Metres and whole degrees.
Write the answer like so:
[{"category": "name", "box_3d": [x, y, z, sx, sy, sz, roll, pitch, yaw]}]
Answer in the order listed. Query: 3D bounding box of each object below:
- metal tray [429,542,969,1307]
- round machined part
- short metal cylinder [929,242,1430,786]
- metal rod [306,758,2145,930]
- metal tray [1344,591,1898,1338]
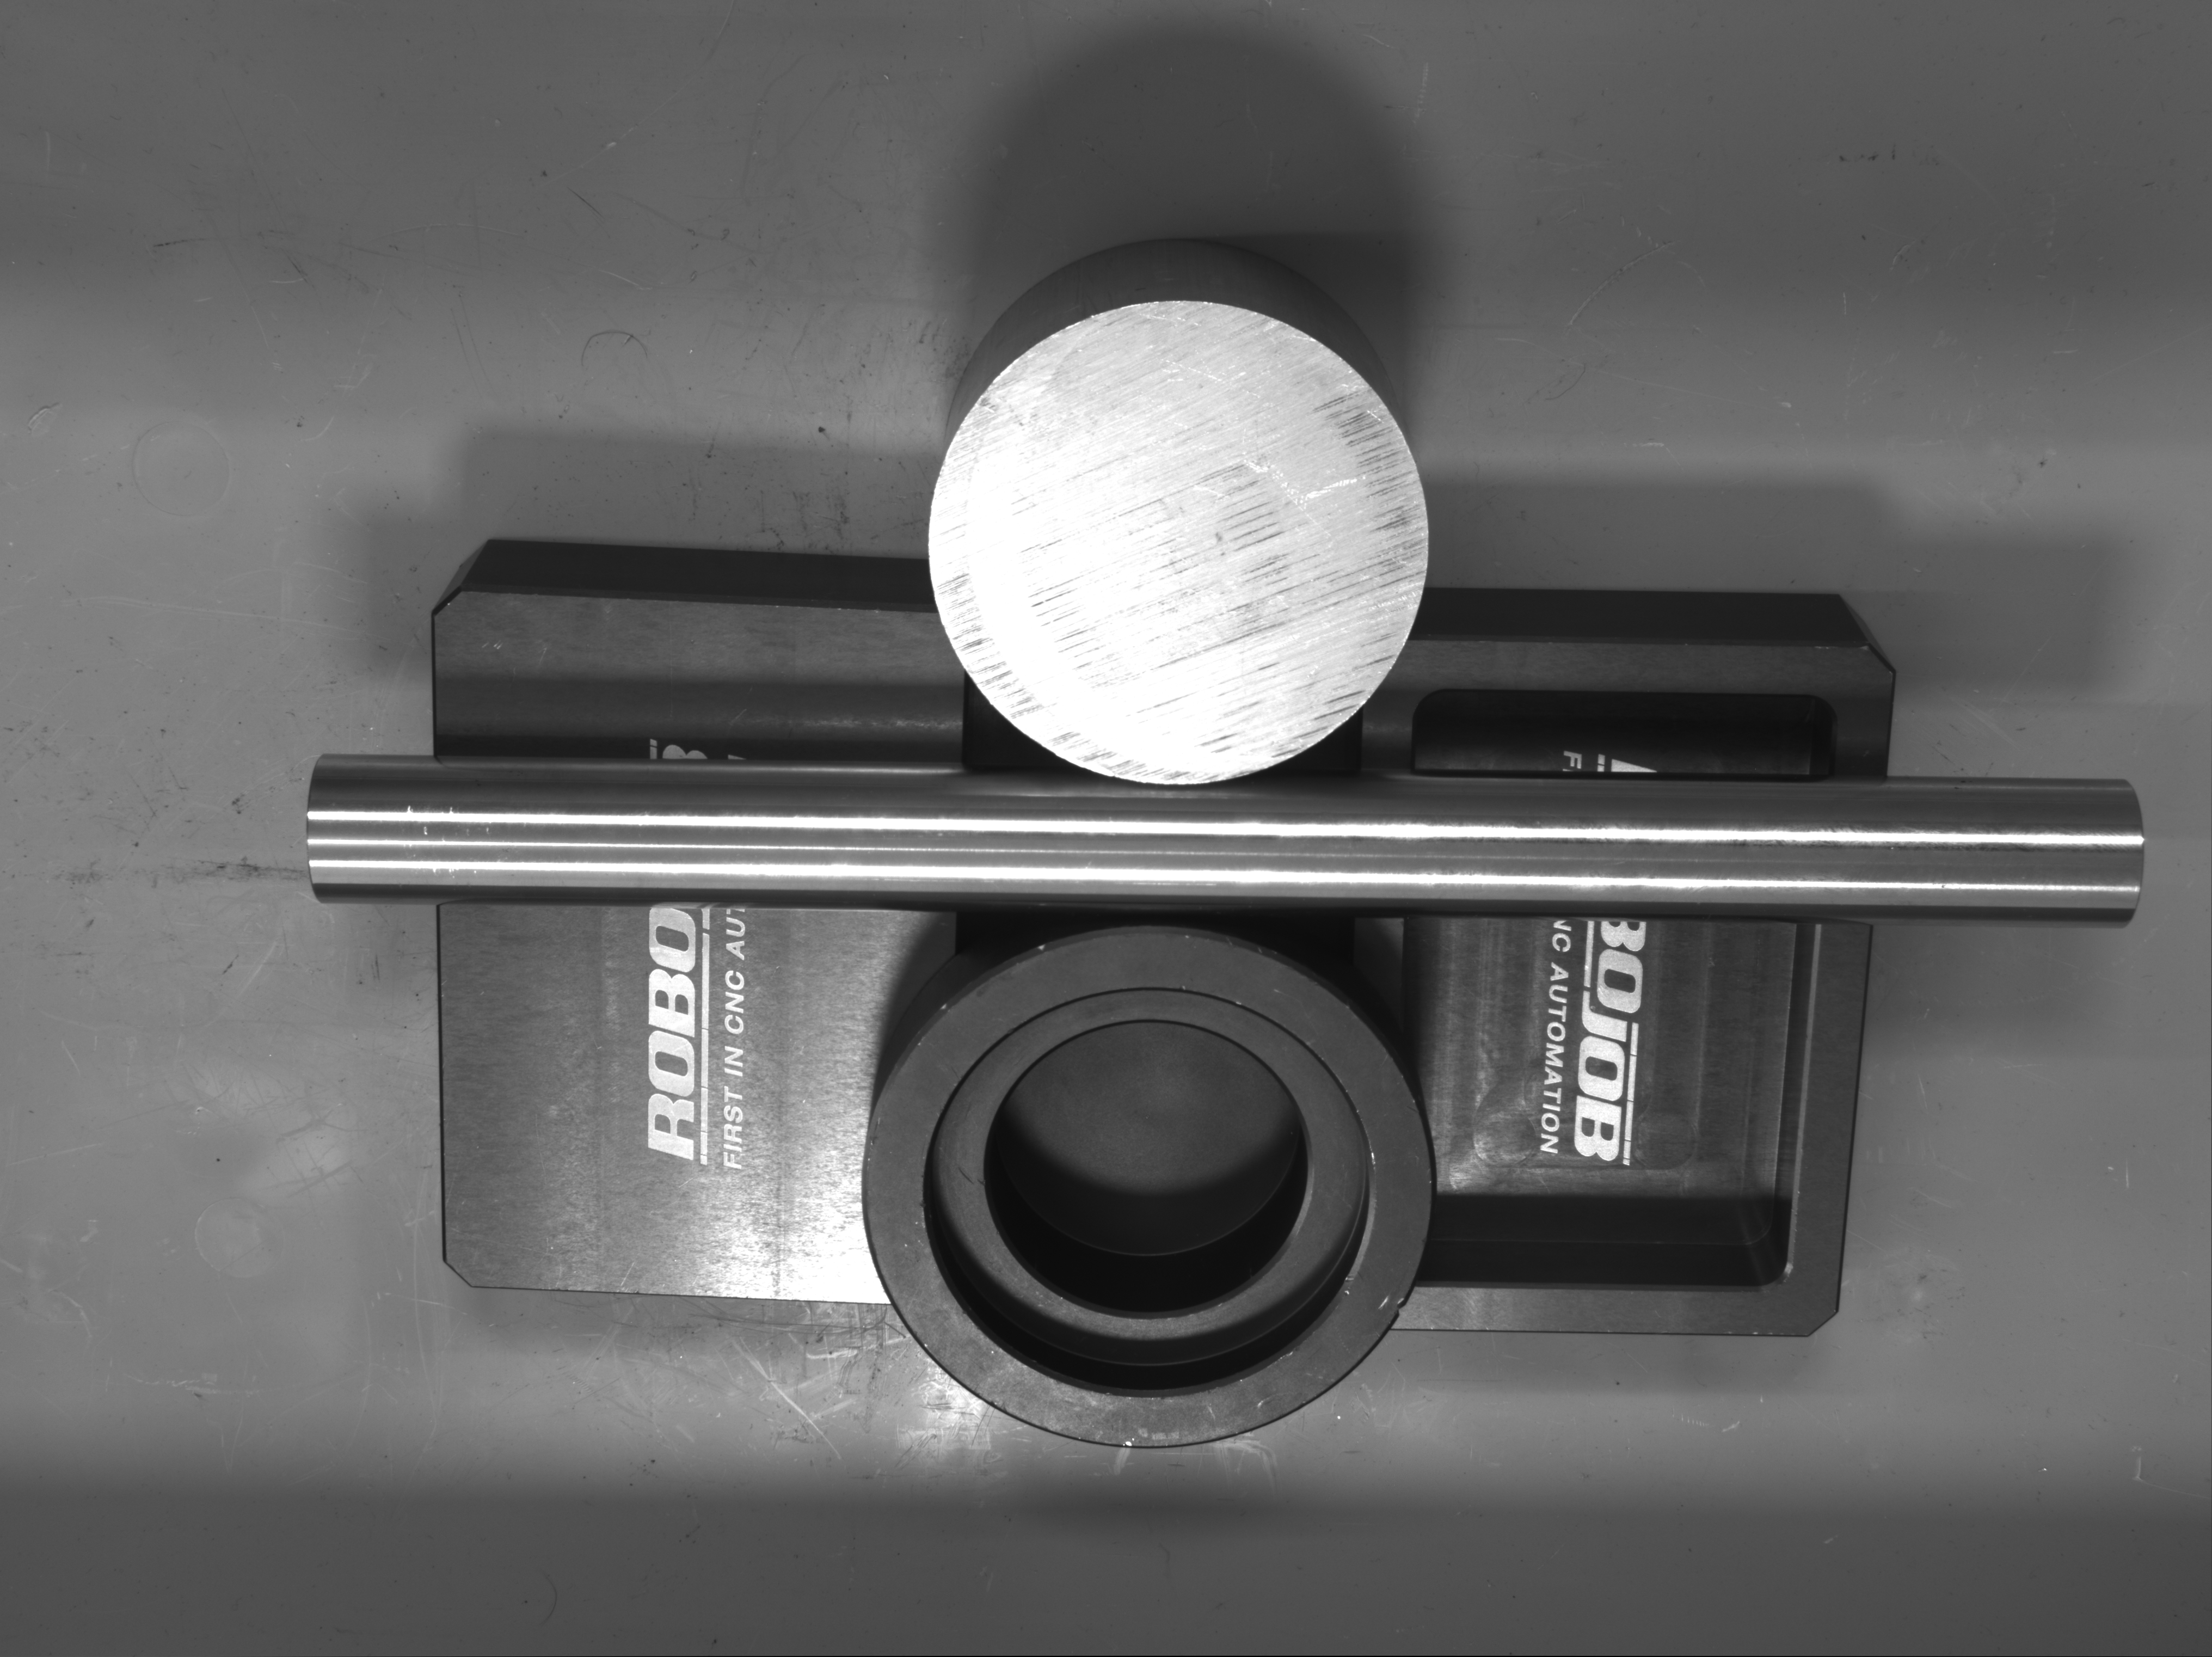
[{"category": "metal tray", "box_3d": [-0.070, 0.018, 0.645, 0.090, 0.030, 0.130, 2, 110, -1]}, {"category": "round machined part", "box_3d": [0.007, 0.056, 0.644, 0.098, 0.042, 0.098, 0, 110, 0]}, {"category": "short metal cylinder", "box_3d": [0.012, -0.053, 0.610, 0.080, 0.050, 0.080, 0, 110, 0]}, {"category": "metal rod", "box_3d": [0.020, 0.003, 0.611, 0.300, 0.025, 0.025, 1, 110, 0]}, {"category": "metal tray", "box_3d": [0.087, 0.025, 0.649, 0.090, 0.030, 0.130, 1, 110, 0]}]
